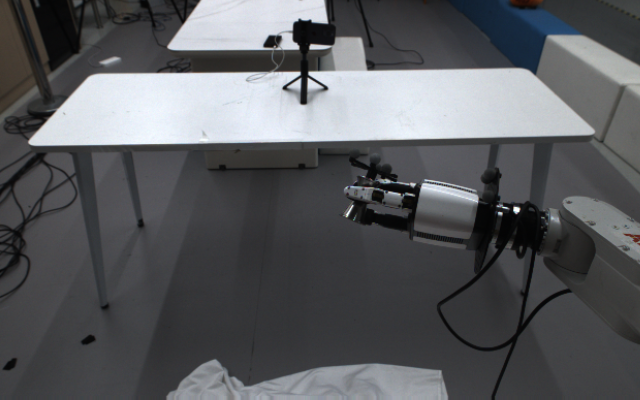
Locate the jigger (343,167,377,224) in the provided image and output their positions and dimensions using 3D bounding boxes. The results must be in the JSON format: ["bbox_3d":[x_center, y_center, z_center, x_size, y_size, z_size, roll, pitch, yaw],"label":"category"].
[{"bbox_3d":[0.061,-0.001,0.744,0.043,0.071,0.043,24,-3,1],"label":"jigger"}]
